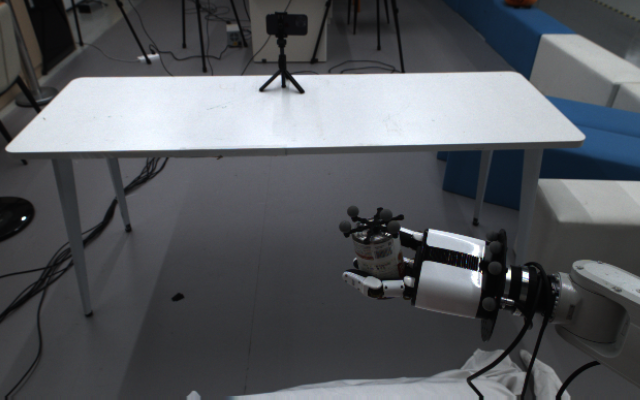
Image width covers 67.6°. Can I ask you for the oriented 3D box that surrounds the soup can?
[{"bbox_3d":[0.088,0.084,0.698,0.067,0.101,0.067,-11,27,5],"label":"soup can"}]
